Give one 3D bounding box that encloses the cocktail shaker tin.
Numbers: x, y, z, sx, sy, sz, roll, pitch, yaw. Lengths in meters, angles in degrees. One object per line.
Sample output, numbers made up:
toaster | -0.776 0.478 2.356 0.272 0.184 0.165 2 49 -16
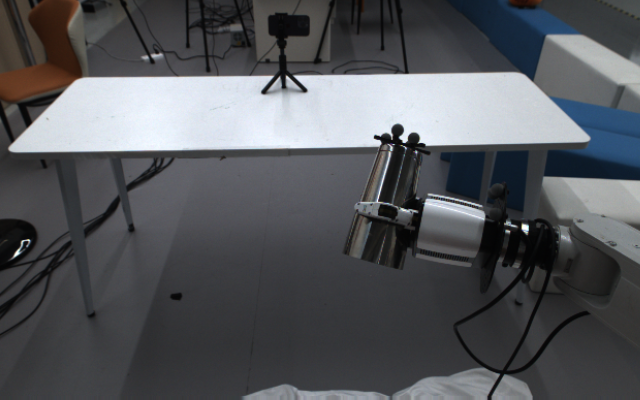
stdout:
cocktail shaker tin | 0.099 0.008 0.712 0.093 0.170 0.093 15 -4 1
